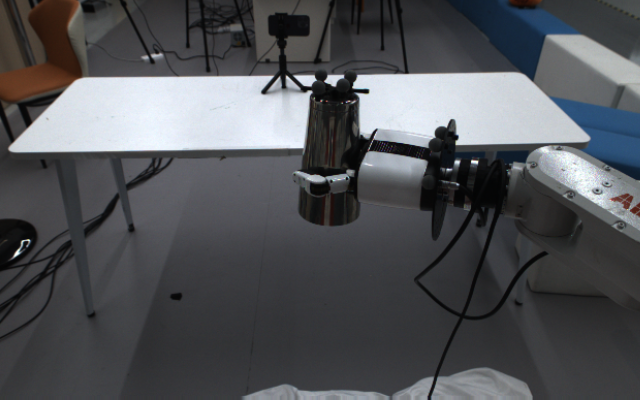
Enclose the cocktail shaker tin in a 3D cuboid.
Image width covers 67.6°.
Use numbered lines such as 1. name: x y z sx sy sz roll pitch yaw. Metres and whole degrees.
1. cocktail shaker tin: 0.018 -0.061 0.670 0.093 0.170 0.093 2 28 -1
